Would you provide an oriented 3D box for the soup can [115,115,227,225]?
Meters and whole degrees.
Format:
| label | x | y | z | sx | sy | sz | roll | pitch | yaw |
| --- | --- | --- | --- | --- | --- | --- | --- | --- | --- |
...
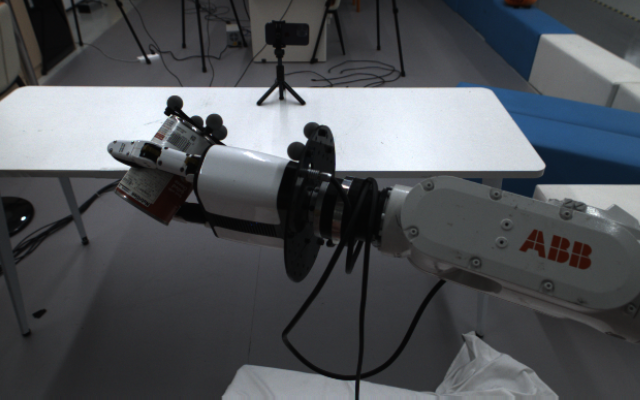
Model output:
| label | x | y | z | sx | sy | sz | roll | pitch | yaw |
| --- | --- | --- | --- | --- | --- | --- | --- | --- | --- |
| soup can | -0.163 | -0.031 | 0.526 | 0.067 | 0.067 | 0.101 | 27 | 79 | 31 |
